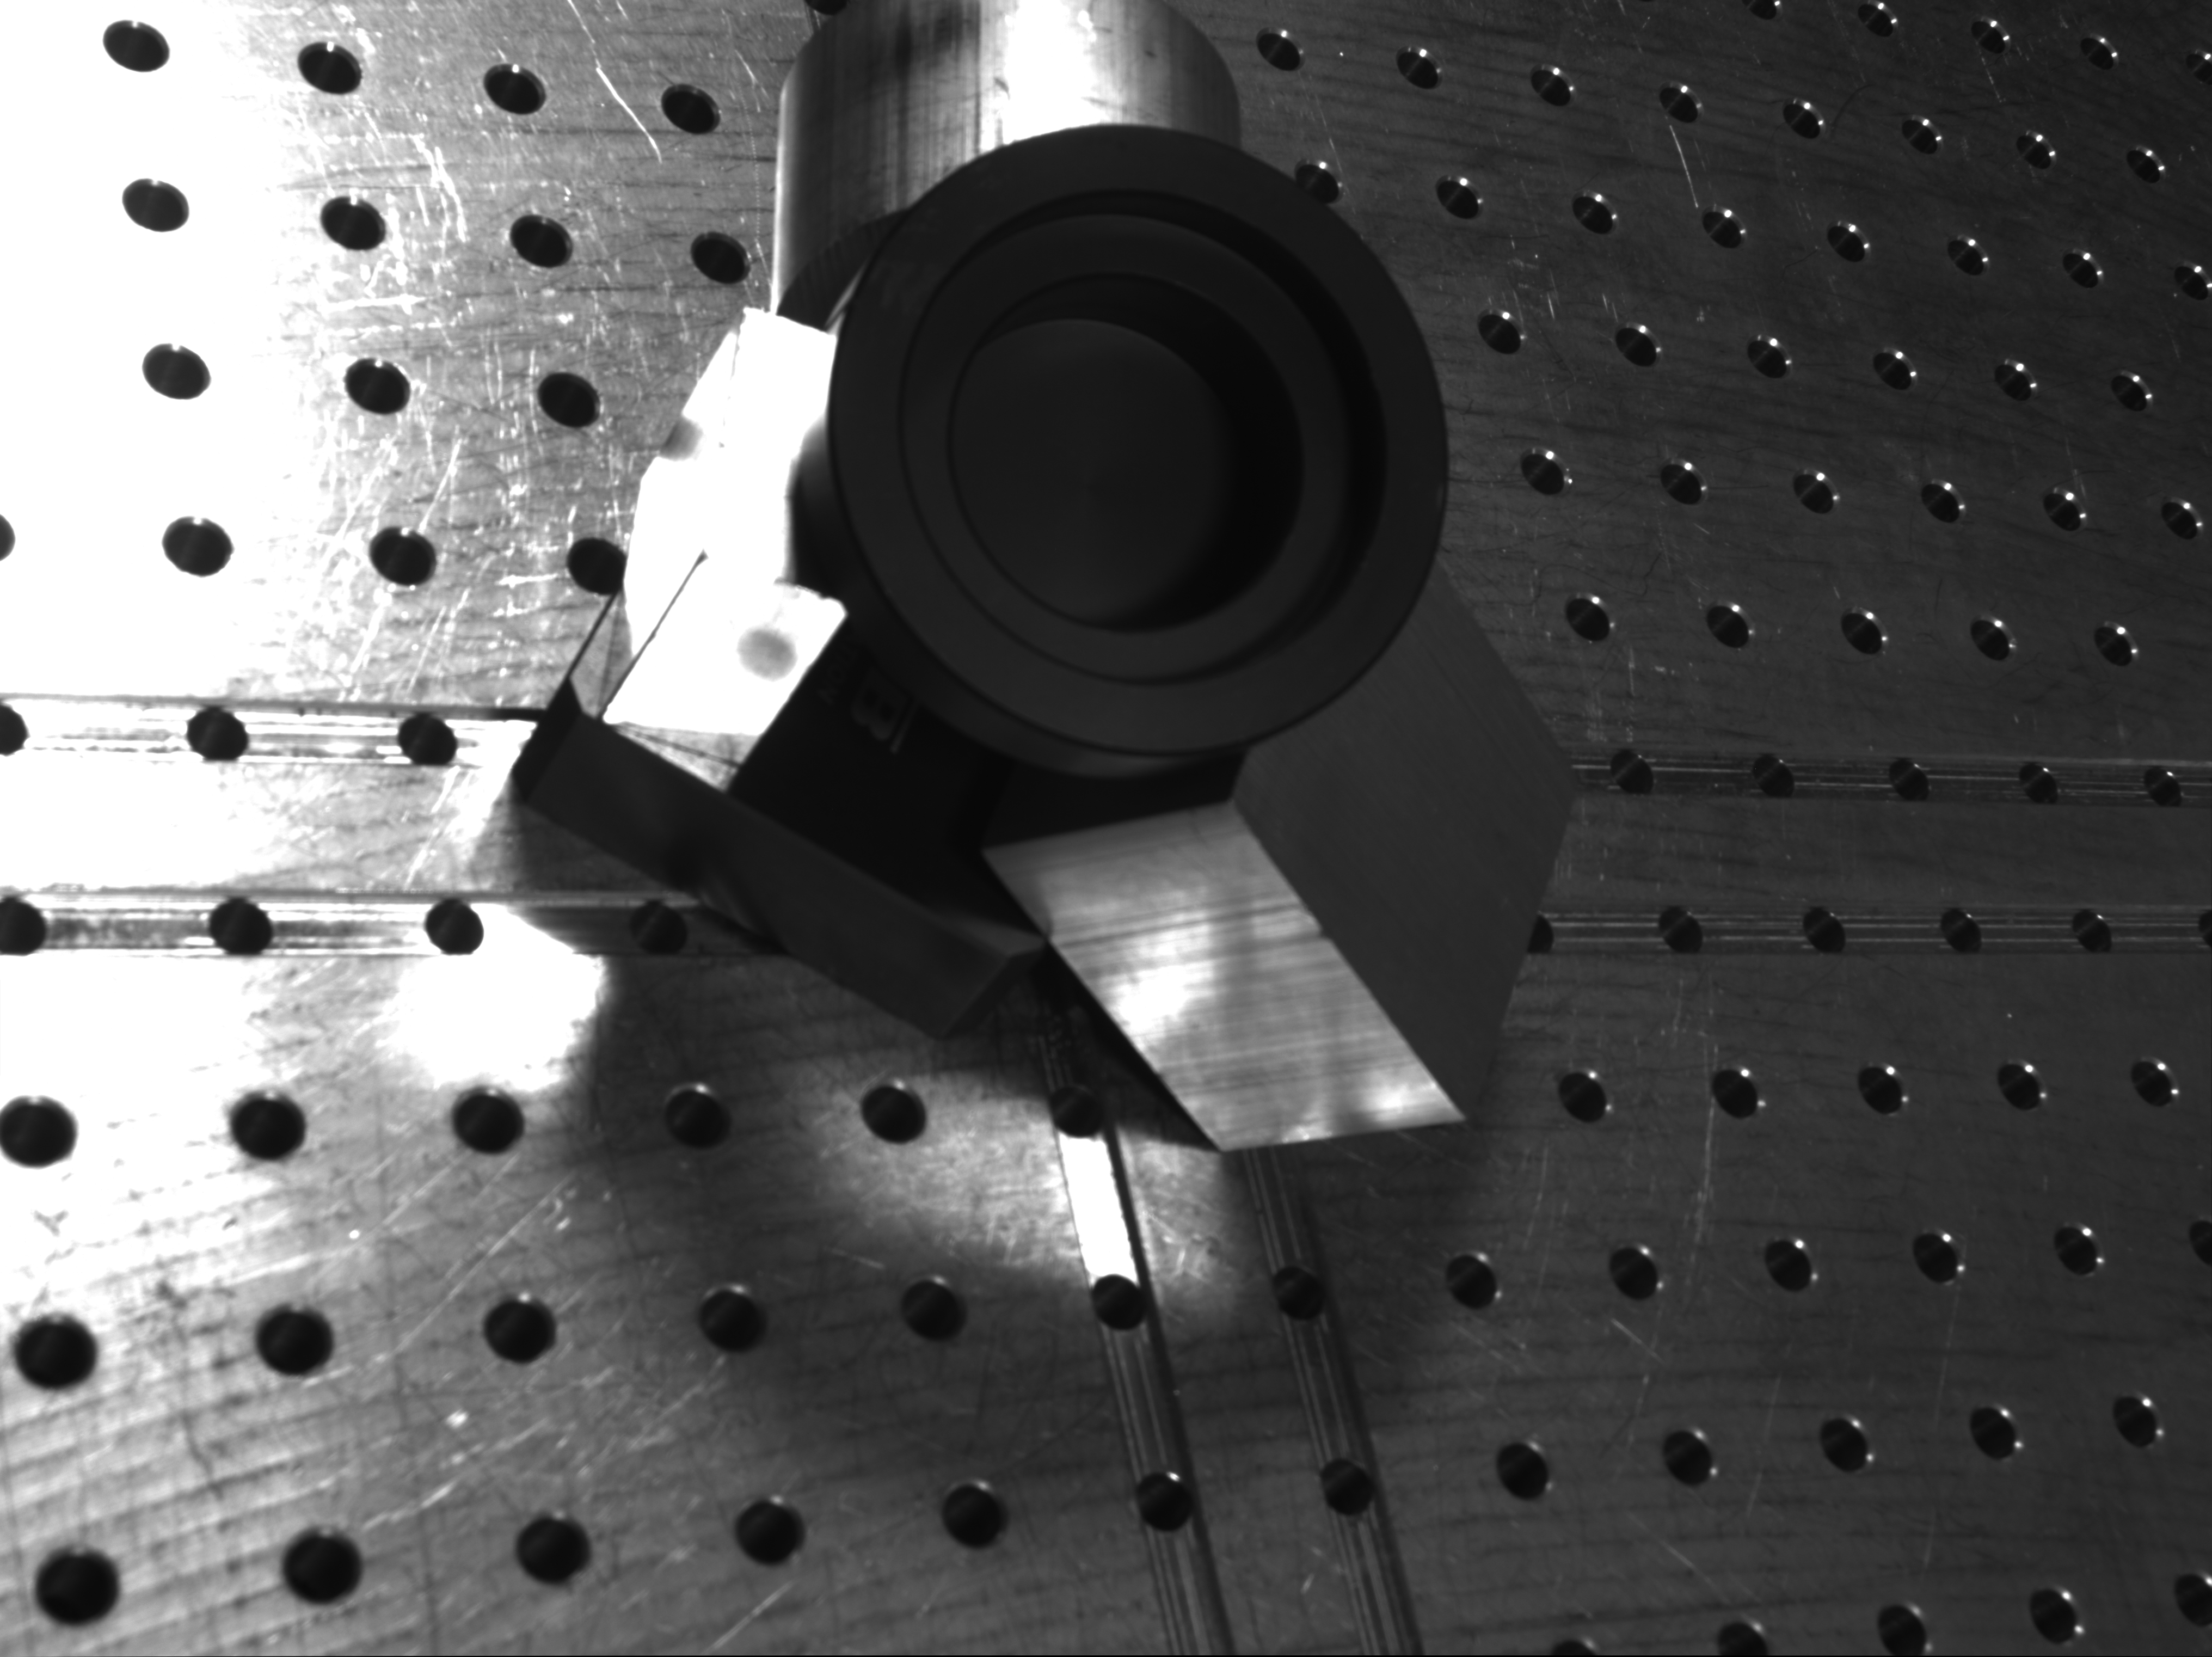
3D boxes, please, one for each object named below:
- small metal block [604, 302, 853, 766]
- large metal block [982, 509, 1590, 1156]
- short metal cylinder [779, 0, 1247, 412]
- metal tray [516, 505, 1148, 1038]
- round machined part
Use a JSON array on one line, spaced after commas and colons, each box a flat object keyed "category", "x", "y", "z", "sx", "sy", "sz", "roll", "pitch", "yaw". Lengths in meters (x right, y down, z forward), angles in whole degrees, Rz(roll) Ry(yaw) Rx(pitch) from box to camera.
[{"category": "small metal block", "x": -0.057, "y": -0.046, "z": 0.584, "sx": 0.025, "sy": 0.050, "sz": 0.050, "roll": 18, "pitch": 55, "yaw": -18}, {"category": "large metal block", "x": 0.033, "y": -0.003, "z": 0.623, "sx": 0.080, "sy": 0.050, "sz": 0.080, "roll": 52, "pitch": 44, "yaw": -32}, {"category": "short metal cylinder", "x": -0.015, "y": -0.100, "z": 0.621, "sx": 0.080, "sy": 0.080, "sz": 0.050, "roll": 13, "pitch": 56, "yaw": -21}, {"category": "metal tray", "x": -0.035, "y": -0.038, "z": 0.645, "sx": 0.090, "sy": 0.030, "sz": 0.130, "roll": 30, "pitch": 52, "yaw": -9}, {"category": "round machined part", "x": 0.001, "y": -0.056, "z": 0.571, "sx": 0.098, "sy": 0.042, "sz": 0.098, "roll": 3, "pitch": 81, "yaw": -16}]
